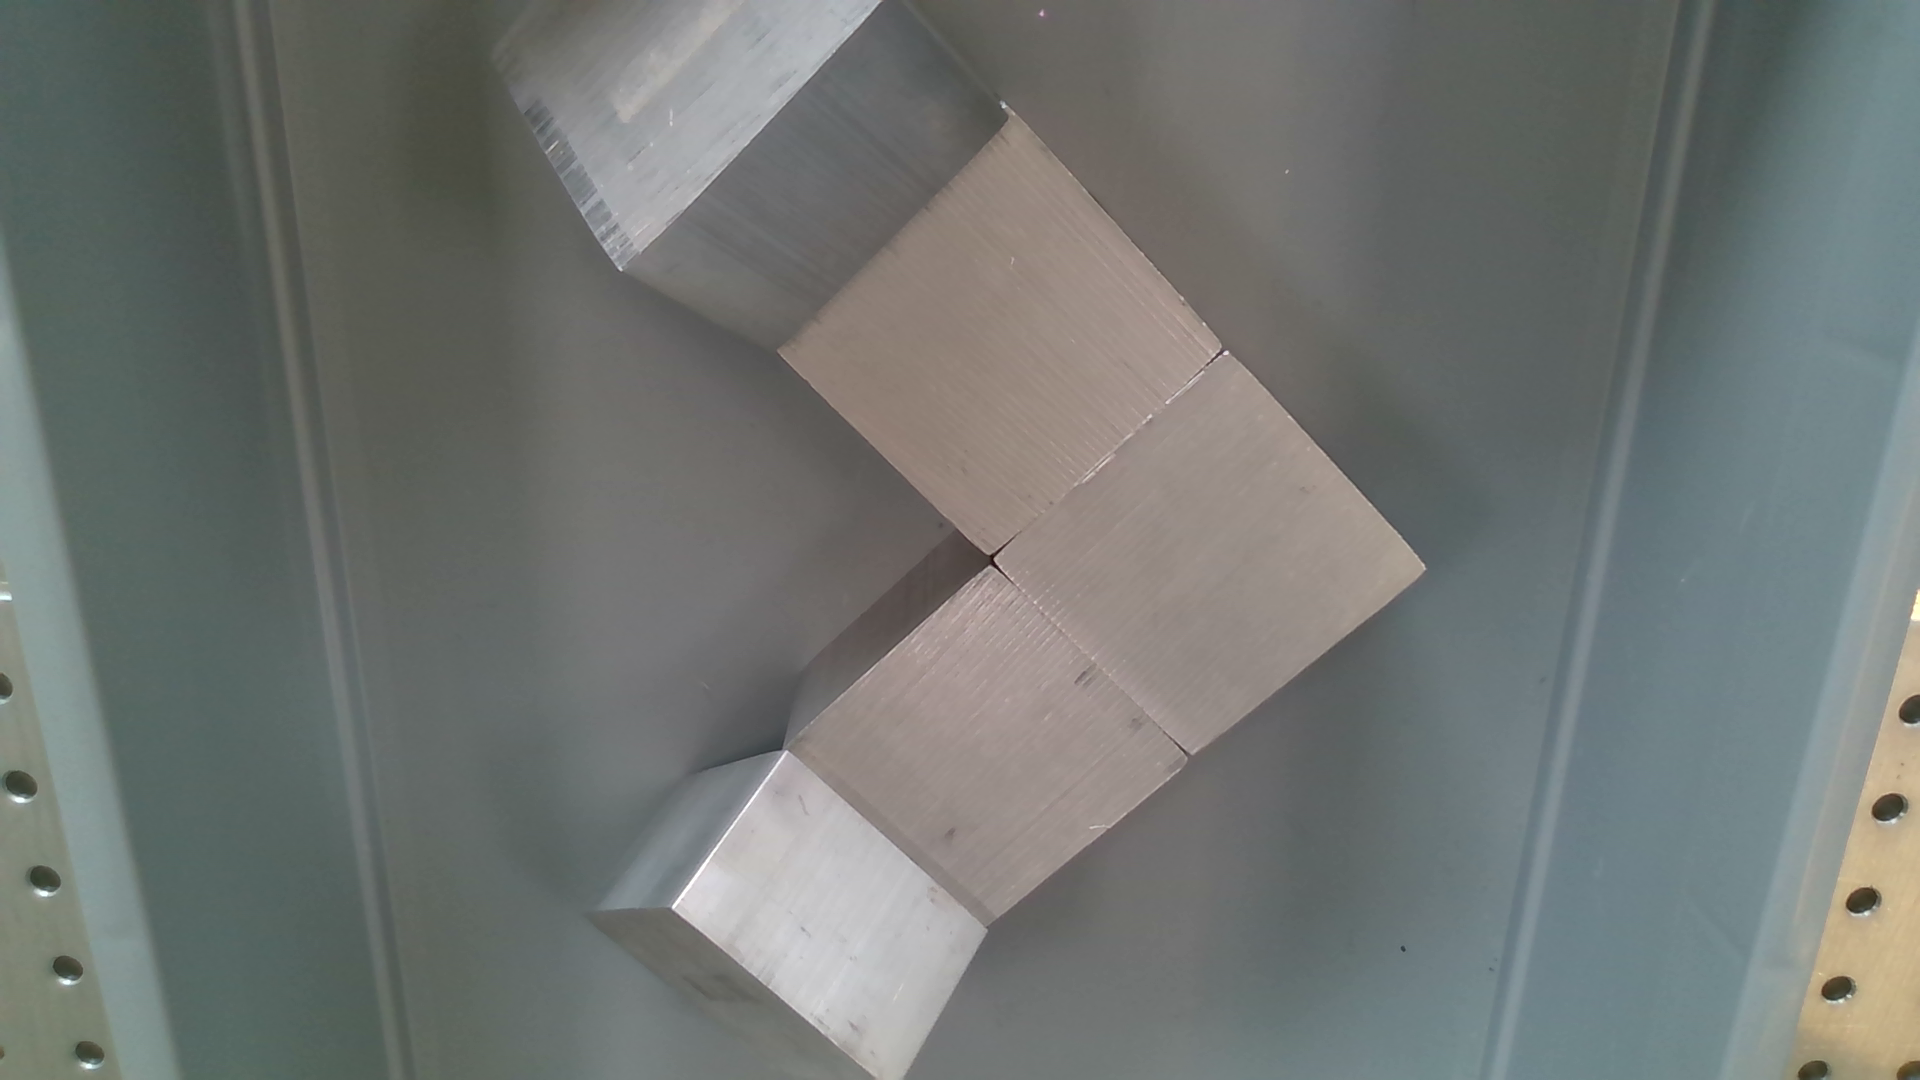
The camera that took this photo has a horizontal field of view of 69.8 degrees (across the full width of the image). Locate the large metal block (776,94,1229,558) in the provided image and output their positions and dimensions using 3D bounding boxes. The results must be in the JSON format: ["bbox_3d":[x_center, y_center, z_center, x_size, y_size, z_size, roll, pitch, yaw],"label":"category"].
[{"bbox_3d":[0.009,-0.057,0.358,0.080,0.050,0.080,-42,105,14],"label":"large metal block"}]

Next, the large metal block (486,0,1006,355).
[{"bbox_3d":[-0.051,-0.105,0.317,0.080,0.050,0.080,-42,62,14],"label":"large metal block"}]

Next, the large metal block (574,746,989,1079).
[{"bbox_3d":[-0.053,0.109,0.396,0.080,0.050,0.080,44,148,-14],"label":"large metal block"}]

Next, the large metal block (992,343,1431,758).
[{"bbox_3d":[0.065,-0.002,0.378,0.080,0.050,0.080,-42,105,14],"label":"large metal block"}]

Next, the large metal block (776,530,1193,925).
[{"bbox_3d":[0.007,0.050,0.397,0.080,0.050,0.080,-42,105,14],"label":"large metal block"}]
